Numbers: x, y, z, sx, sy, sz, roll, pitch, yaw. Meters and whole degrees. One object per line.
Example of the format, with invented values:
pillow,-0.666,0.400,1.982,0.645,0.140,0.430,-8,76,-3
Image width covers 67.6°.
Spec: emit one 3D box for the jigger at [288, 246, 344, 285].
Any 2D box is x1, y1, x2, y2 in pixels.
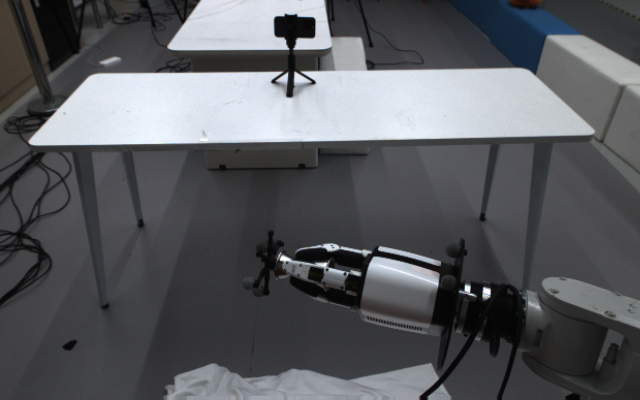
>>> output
jigger,-0.013,0.086,0.624,0.071,0.043,0.043,7,35,16
